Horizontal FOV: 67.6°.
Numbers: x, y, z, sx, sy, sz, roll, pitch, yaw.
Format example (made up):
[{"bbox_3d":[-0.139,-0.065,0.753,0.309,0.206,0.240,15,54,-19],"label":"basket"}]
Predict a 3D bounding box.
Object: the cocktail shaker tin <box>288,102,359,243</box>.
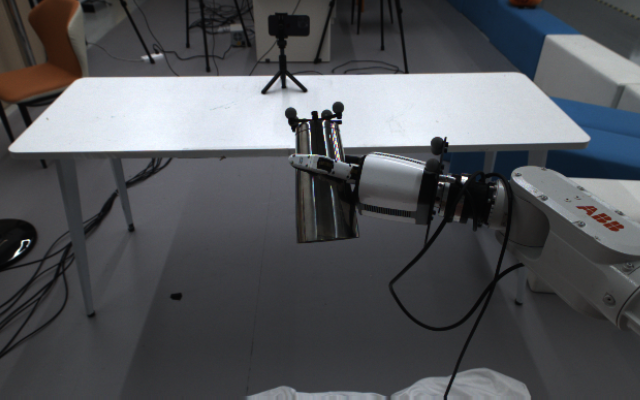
[{"bbox_3d":[0.003,-0.026,0.709,0.093,0.170,0.093,-6,-7,-1],"label":"cocktail shaker tin"}]
